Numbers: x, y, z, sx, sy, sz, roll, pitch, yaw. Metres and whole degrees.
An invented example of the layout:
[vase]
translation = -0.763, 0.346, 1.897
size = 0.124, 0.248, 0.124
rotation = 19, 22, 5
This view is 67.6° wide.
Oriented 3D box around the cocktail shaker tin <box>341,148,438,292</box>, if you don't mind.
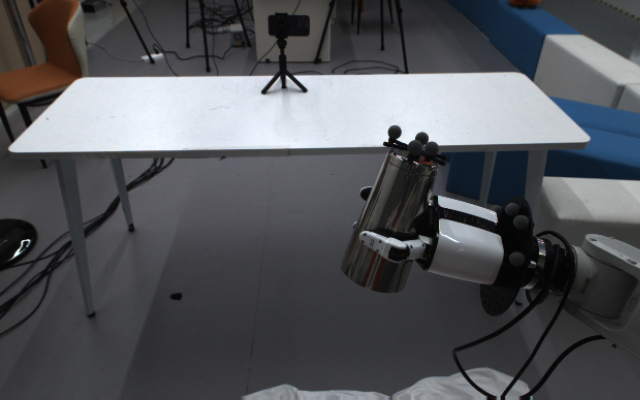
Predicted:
[cocktail shaker tin]
translation = 0.096, 0.023, 0.631
size = 0.093, 0.170, 0.093
rotation = 14, 20, -5
